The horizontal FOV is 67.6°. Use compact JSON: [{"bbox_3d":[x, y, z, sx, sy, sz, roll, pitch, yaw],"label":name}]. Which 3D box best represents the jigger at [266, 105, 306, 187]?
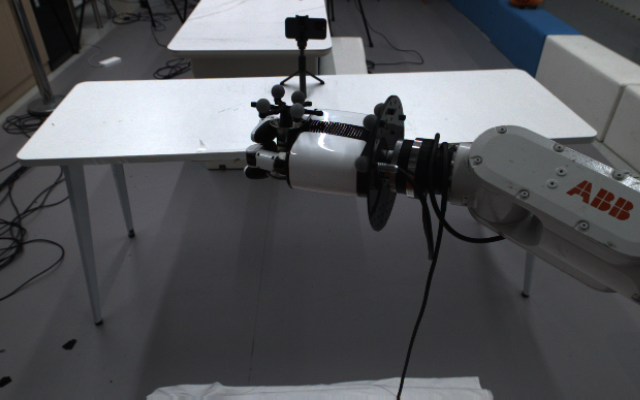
[{"bbox_3d":[-0.043,-0.063,0.608,0.043,0.071,0.043,5,26,-3],"label":"jigger"}]
